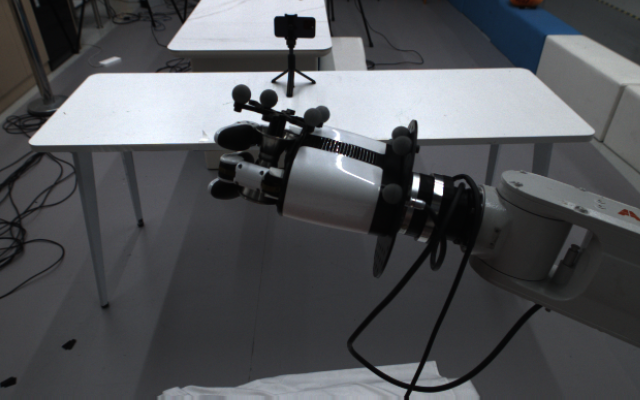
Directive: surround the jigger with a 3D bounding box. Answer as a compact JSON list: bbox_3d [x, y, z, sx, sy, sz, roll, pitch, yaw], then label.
[{"bbox_3d":[-0.052,-0.036,0.485,0.043,0.071,0.043,15,17,-4],"label":"jigger"}]
